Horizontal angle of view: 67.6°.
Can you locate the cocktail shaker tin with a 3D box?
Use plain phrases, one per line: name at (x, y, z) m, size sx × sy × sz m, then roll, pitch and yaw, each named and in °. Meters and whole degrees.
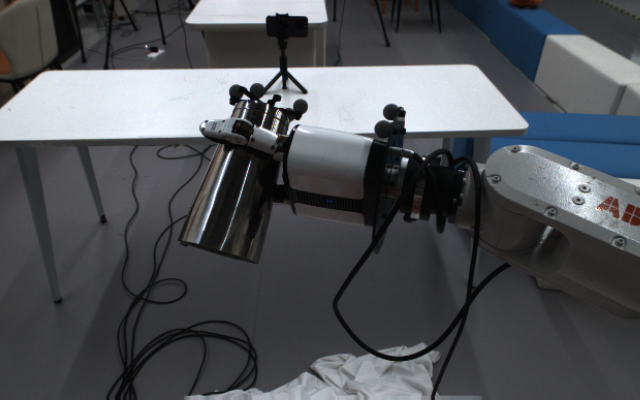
cocktail shaker tin at (-0.086, -0.024, 0.548) m, size 0.093 × 0.093 × 0.170 m, roll 13°, pitch 77°, yaw 15°
